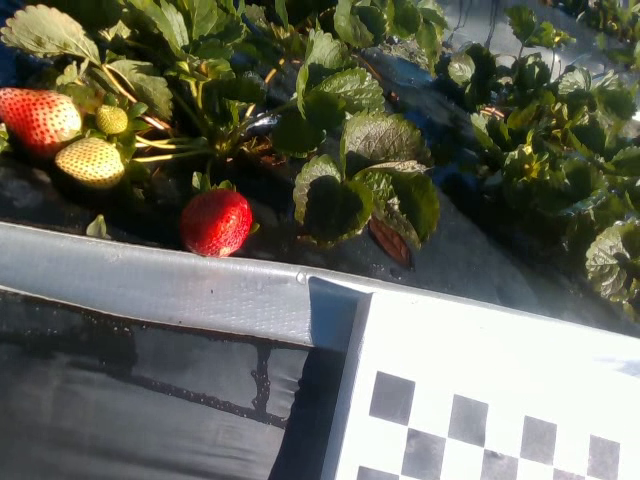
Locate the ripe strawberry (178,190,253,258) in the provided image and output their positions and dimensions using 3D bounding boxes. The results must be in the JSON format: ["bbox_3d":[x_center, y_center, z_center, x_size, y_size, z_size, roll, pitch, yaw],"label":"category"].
[{"bbox_3d":[-0.045,-0.007,0.264,0.036,0.038,0.045,16,-4,-13],"label":"ripe strawberry"}]
